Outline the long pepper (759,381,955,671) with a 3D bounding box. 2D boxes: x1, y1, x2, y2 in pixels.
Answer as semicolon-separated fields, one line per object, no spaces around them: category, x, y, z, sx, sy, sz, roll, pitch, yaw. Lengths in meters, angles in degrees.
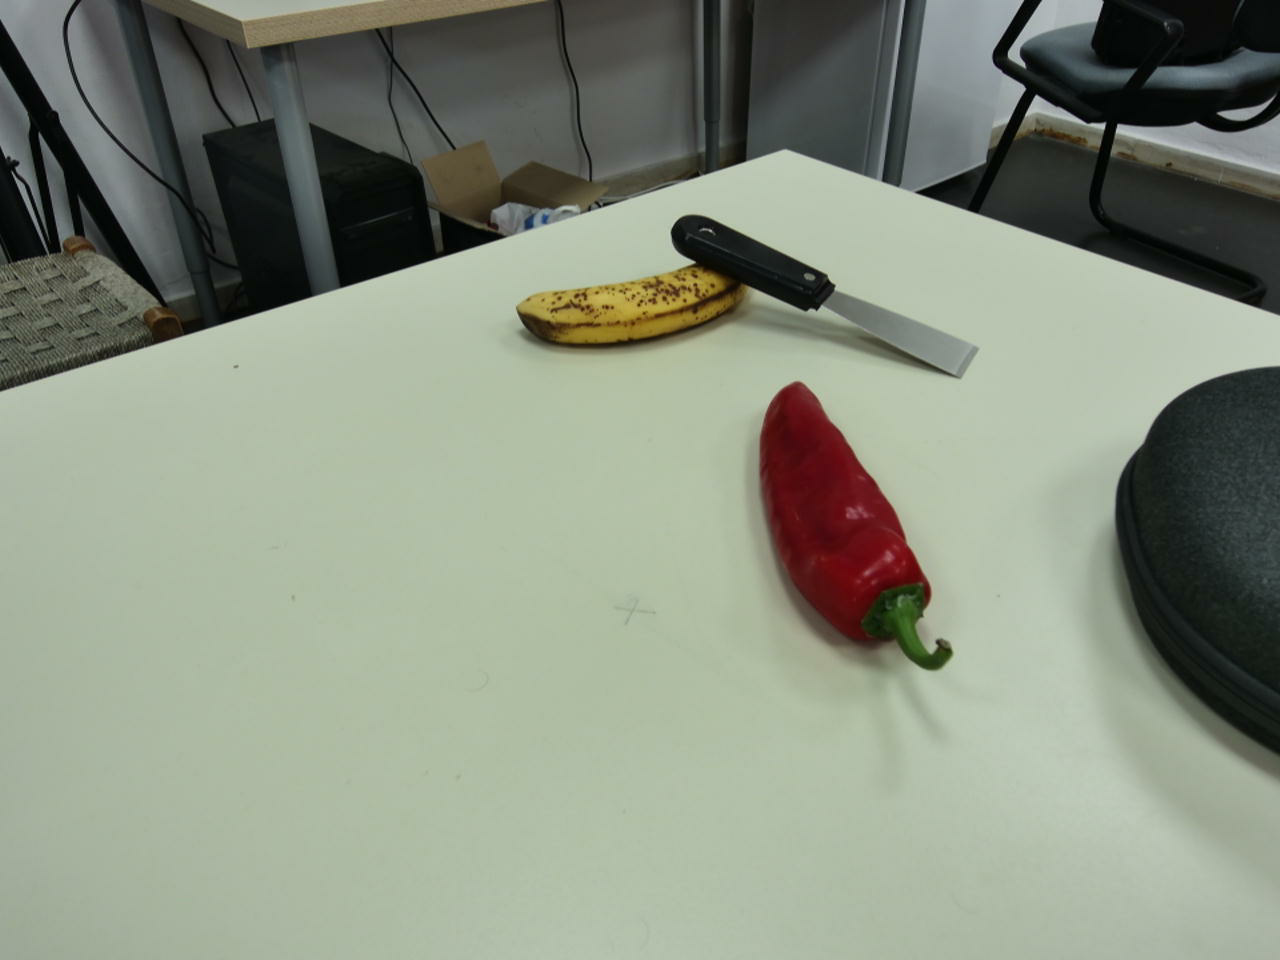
long pepper;0.082;0.011;0.430;0.050;0.043;0.211;-4;35;-4
